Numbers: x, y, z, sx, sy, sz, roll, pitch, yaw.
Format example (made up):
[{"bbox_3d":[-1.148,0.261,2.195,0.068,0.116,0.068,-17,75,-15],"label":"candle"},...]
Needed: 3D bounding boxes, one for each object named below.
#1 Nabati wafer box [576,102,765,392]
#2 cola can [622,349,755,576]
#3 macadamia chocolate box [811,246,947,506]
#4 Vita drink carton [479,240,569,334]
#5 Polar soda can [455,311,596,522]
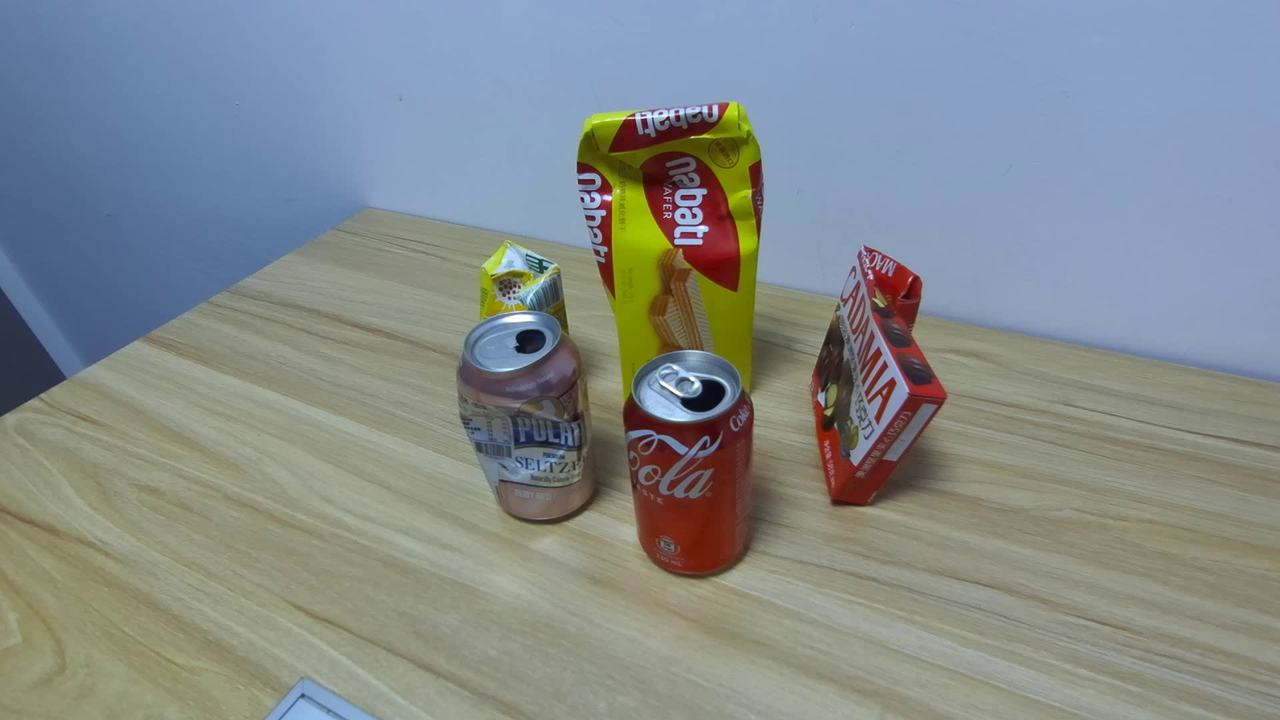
[{"bbox_3d":[0.025,-0.059,0.460,0.113,0.205,0.042,-6,36,2],"label":"Nabati wafer box"},{"bbox_3d":[0.028,0.056,0.381,0.068,0.120,0.067,-4,38,3],"label":"cola can"},{"bbox_3d":[0.141,0.009,0.434,0.056,0.112,0.126,2,38,8],"label":"macadamia chocolate box"},{"bbox_3d":[-0.087,-0.020,0.501,0.046,0.110,0.071,-29,41,-34],"label":"Vita drink carton"},{"bbox_3d":[-0.063,0.036,0.417,0.067,0.122,0.074,-32,44,-29],"label":"Polar soda can"}]
